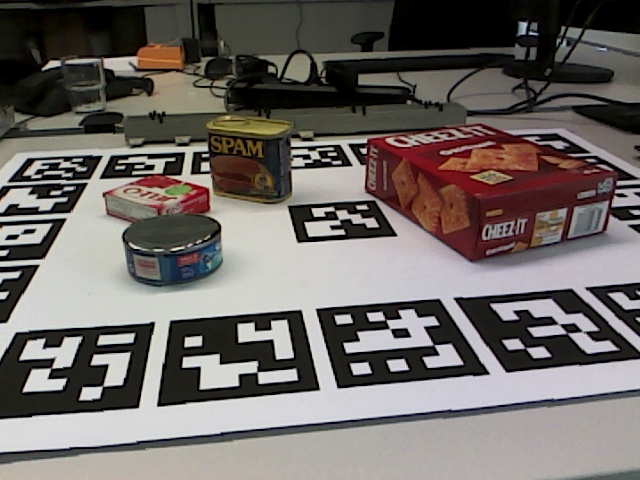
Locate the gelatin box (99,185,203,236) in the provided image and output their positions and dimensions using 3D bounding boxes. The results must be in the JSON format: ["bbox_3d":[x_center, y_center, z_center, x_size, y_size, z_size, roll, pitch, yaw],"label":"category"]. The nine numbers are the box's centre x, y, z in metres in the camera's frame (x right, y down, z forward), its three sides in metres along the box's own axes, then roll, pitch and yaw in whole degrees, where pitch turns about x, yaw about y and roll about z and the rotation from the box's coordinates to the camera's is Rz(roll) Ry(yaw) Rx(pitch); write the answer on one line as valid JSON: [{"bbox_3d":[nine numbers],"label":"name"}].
[{"bbox_3d":[-0.188,-0.032,0.691,0.090,0.030,0.073,18,27,29],"label":"gelatin box"}]

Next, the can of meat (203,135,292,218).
[{"bbox_3d":[-0.084,-0.077,0.740,0.102,0.083,0.057,8,25,21],"label":"can of meat"}]

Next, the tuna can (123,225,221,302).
[{"bbox_3d":[-0.133,0.020,0.565,0.086,0.033,0.086,-1,28,0],"label":"tuna can"}]

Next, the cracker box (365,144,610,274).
[{"bbox_3d":[0.171,-0.046,0.676,0.163,0.072,0.215,-10,25,-23],"label":"cracker box"}]
